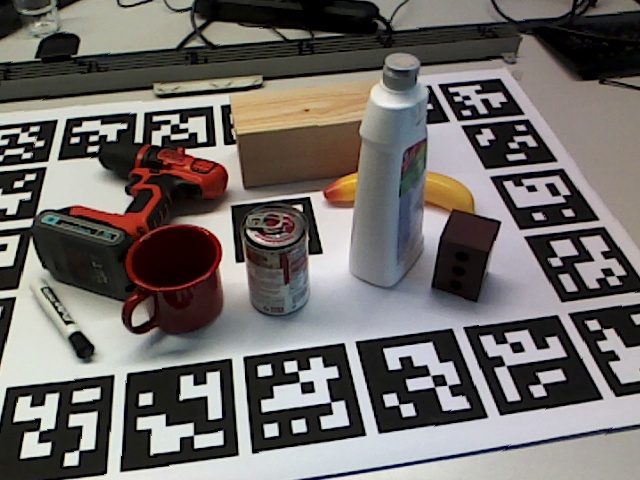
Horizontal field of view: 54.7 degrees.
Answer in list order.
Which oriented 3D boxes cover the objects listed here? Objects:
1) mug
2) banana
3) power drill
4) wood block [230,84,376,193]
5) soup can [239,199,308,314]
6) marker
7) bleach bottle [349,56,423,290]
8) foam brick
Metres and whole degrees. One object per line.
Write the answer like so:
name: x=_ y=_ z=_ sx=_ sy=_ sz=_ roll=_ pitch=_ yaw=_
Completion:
mug: x=-0.152 y=0.045 z=0.633 sx=0.094 sy=0.081 sz=0.117 roll=26 pitch=53 yaw=22
banana: x=0.087 y=-0.069 z=0.776 sx=0.197 sy=0.039 sz=0.074 roll=5 pitch=58 yaw=3
power drill: x=-0.225 y=-0.036 z=0.744 sx=0.185 sy=0.057 sz=0.187 roll=15 pitch=45 yaw=11
wood block: x=-0.008 y=-0.136 z=0.815 sx=0.206 sy=0.091 sz=0.090 roll=-8 pitch=46 yaw=-8
soup can: x=-0.046 y=0.018 z=0.638 sx=0.068 sy=0.102 sz=0.068 roll=0 pitch=40 yaw=-1
marker: x=-0.266 y=0.086 z=0.641 sx=0.019 sy=0.019 sz=0.122 roll=-32 pitch=53 yaw=-25
bleach bottle: x=0.071 y=-0.067 z=0.627 sx=0.068 sy=0.250 sz=0.102 roll=13 pitch=45 yaw=14
foam brick: x=0.157 y=0.017 z=0.665 sx=0.053 sy=0.078 sz=0.051 roll=16 pitch=44 yaw=19
